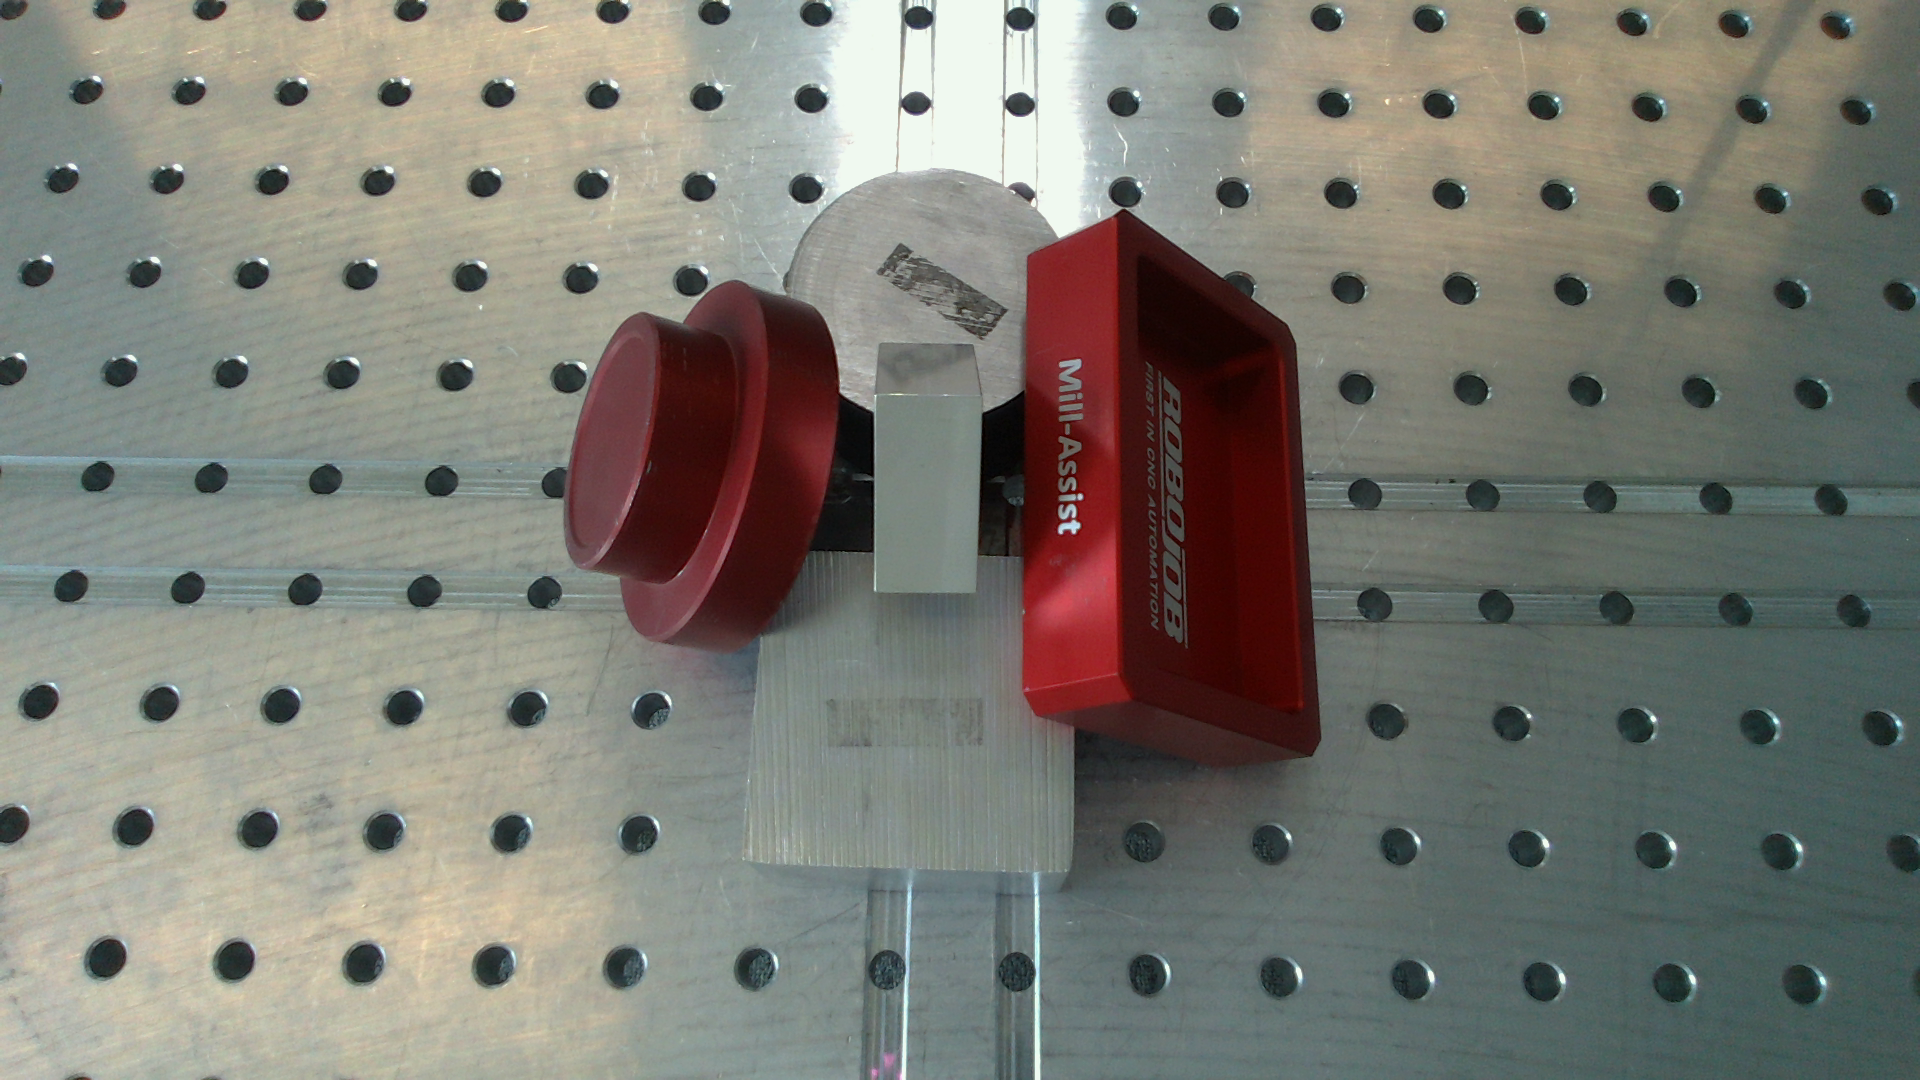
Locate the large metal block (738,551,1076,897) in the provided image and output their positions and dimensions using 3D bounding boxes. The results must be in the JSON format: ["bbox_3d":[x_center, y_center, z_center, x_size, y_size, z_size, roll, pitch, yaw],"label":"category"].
[{"bbox_3d":[-0.011,0.050,0.365,0.080,0.050,0.080,2,70,1],"label":"large metal block"}]

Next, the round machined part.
[{"bbox_3d":[-0.074,-0.022,0.362,0.042,0.098,0.098,14,67,-30],"label":"round machined part"}]

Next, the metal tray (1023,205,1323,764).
[{"bbox_3d":[0.057,-0.012,0.368,0.030,0.090,0.130,-17,63,40],"label":"metal tray"}]

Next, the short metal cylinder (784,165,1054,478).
[{"bbox_3d":[-0.009,-0.062,0.405,0.080,0.050,0.080,0,70,0],"label":"short metal cylinder"}]

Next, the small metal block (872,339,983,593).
[{"bbox_3d":[-0.009,-0.020,0.346,0.025,0.050,0.050,1,112,-3],"label":"small metal block"}]
